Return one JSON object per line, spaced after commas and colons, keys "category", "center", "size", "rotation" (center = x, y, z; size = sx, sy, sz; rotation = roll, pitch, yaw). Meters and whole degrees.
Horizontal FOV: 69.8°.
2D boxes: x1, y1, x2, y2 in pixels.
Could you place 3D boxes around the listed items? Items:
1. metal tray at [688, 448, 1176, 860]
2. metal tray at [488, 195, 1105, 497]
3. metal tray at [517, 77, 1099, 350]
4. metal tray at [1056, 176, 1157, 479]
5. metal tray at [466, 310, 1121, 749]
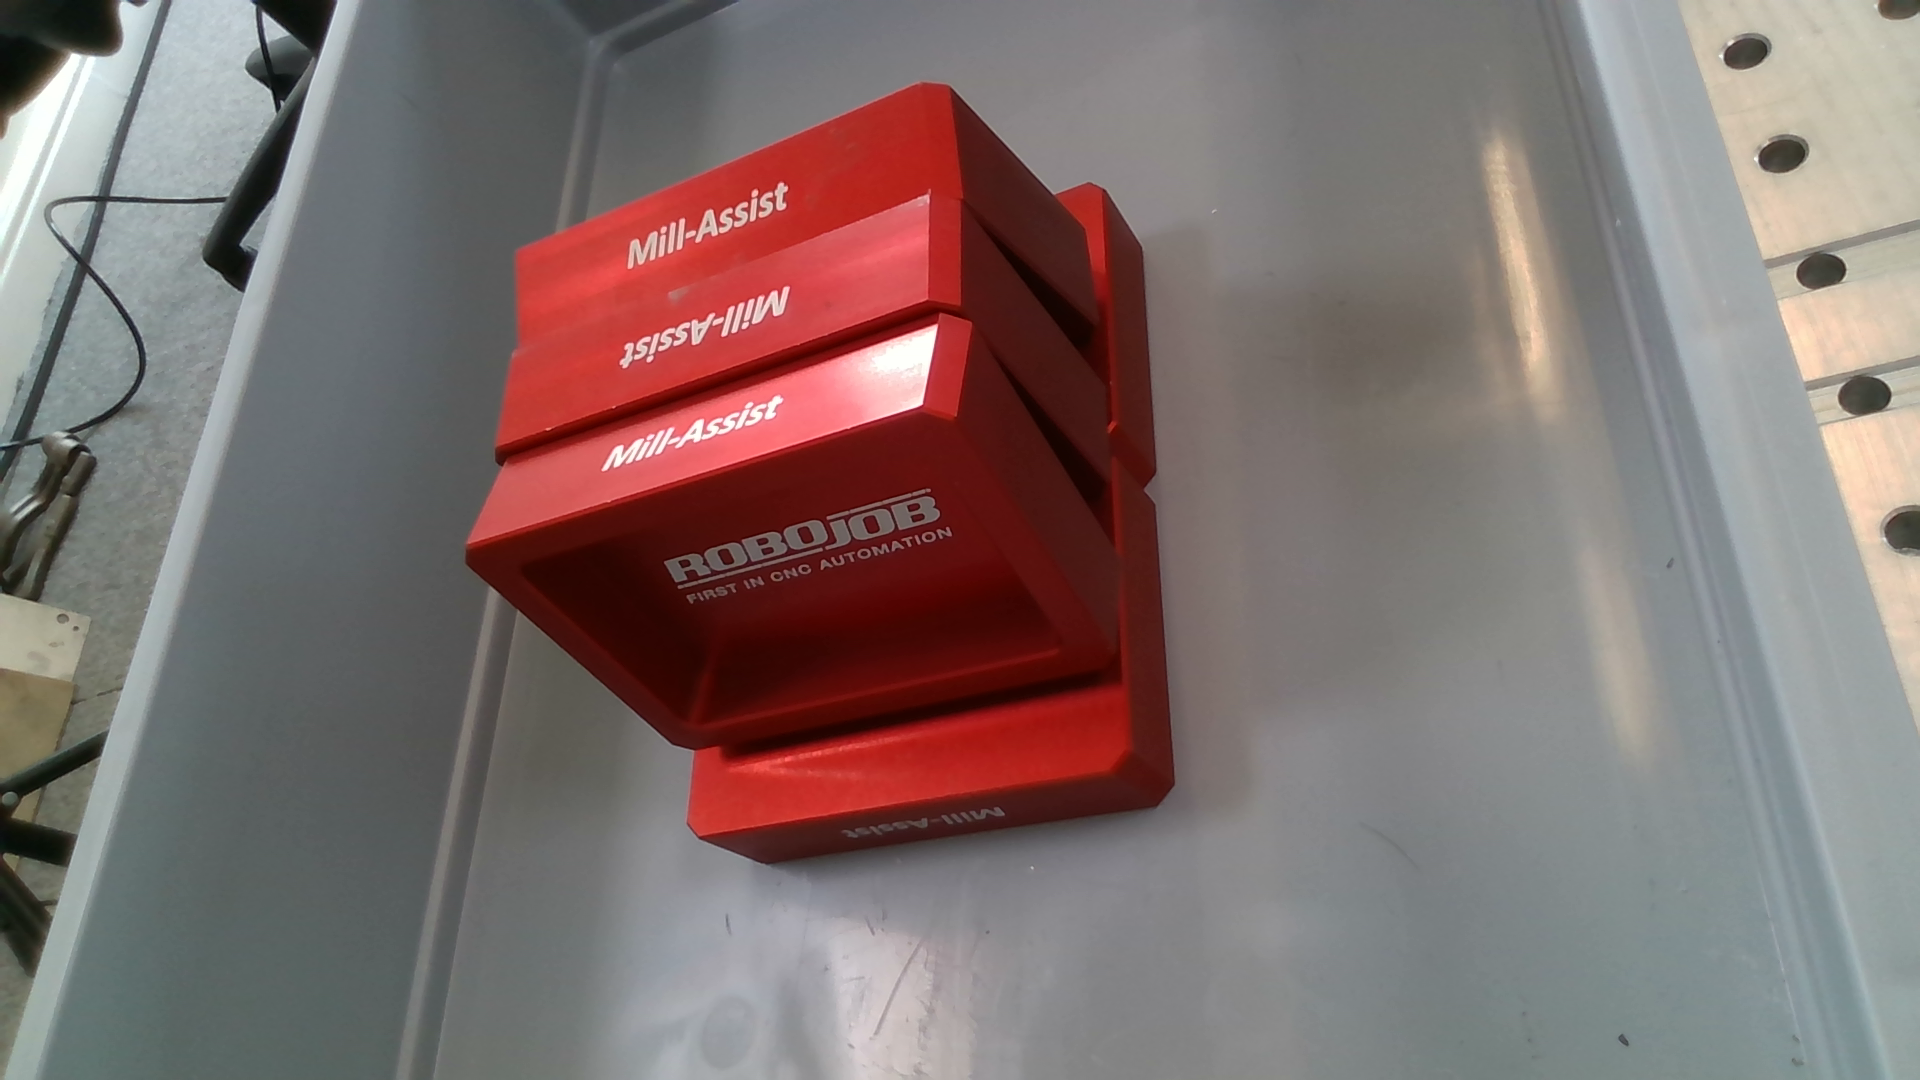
{"category": "metal tray", "center": [-0.010, 0.033, 0.377], "size": [0.130, 0.030, 0.090], "rotation": [-14, 59, 25]}
{"category": "metal tray", "center": [-0.039, -0.030, 0.349], "size": [0.130, 0.090, 0.030], "rotation": [-13, 59, 23]}
{"category": "metal tray", "center": [-0.040, -0.067, 0.367], "size": [0.130, 0.090, 0.030], "rotation": [-14, 71, 25]}
{"category": "metal tray", "center": [-0.009, -0.048, 0.418], "size": [0.130, 0.030, 0.090], "rotation": [-14, 59, 25]}
{"category": "metal tray", "center": [-0.038, 0.005, 0.329], "size": [0.130, 0.090, 0.030], "rotation": [-14, 44, 25]}
